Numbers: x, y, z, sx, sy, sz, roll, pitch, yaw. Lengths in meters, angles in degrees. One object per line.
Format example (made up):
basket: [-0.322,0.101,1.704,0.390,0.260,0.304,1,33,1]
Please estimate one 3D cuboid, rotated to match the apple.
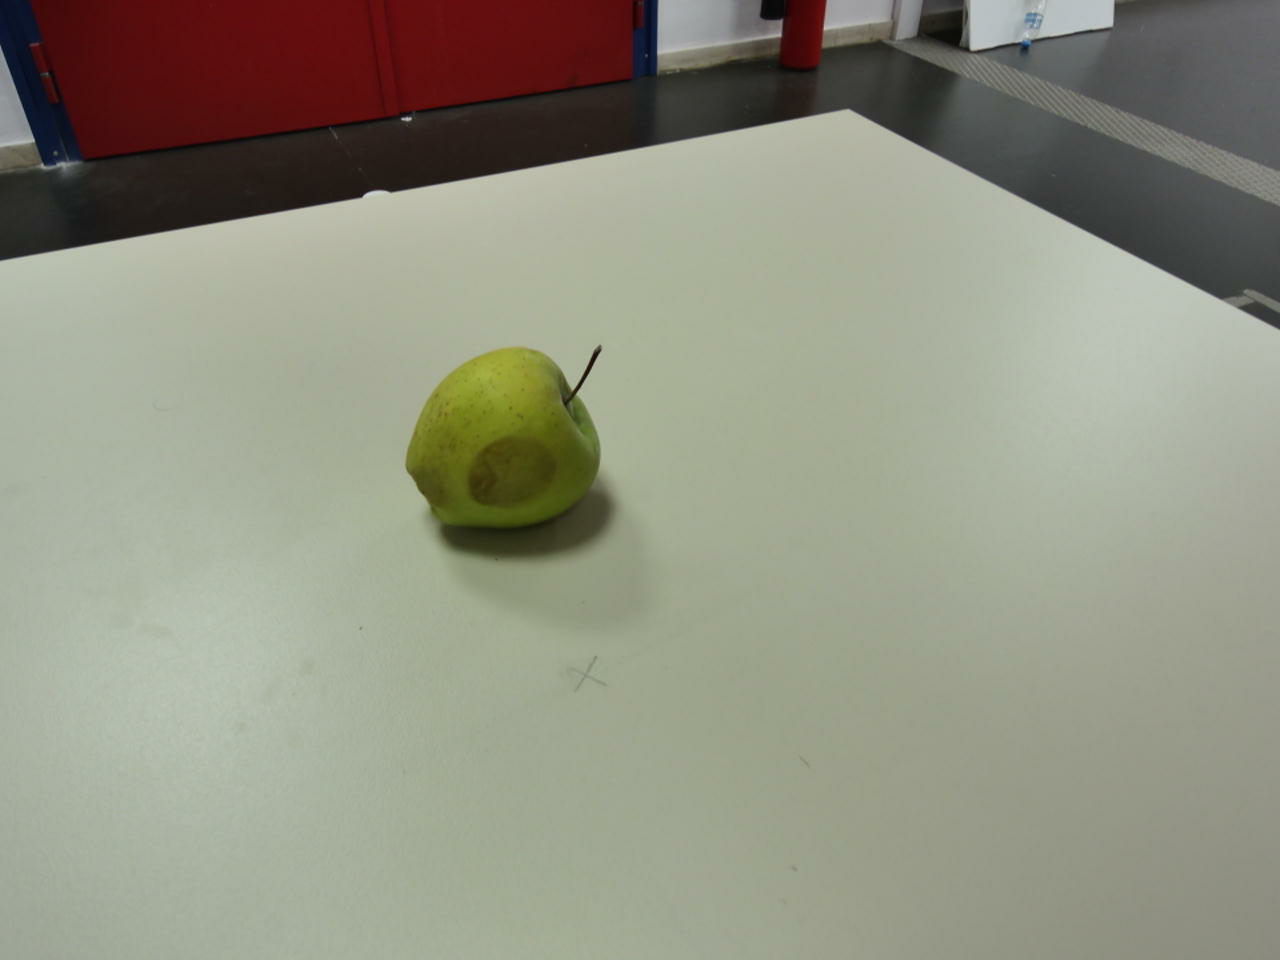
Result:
apple: [-0.055,-0.018,0.413,0.077,0.075,0.072,12,39,13]
